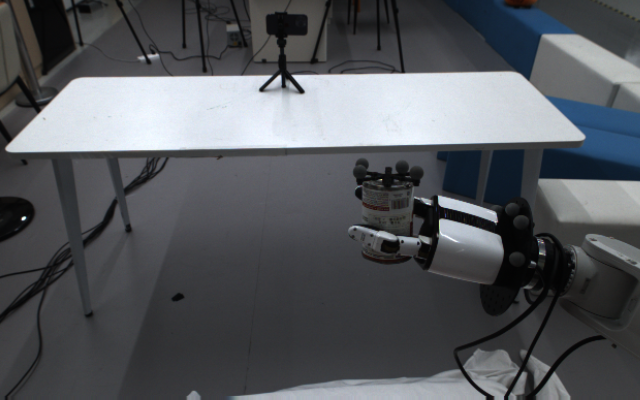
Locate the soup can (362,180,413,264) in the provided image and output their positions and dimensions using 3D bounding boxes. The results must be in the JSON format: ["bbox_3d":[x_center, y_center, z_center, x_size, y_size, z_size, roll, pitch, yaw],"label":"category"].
[{"bbox_3d":[0.090,0.024,0.628,0.067,0.101,0.067,-2,17,0],"label":"soup can"}]
